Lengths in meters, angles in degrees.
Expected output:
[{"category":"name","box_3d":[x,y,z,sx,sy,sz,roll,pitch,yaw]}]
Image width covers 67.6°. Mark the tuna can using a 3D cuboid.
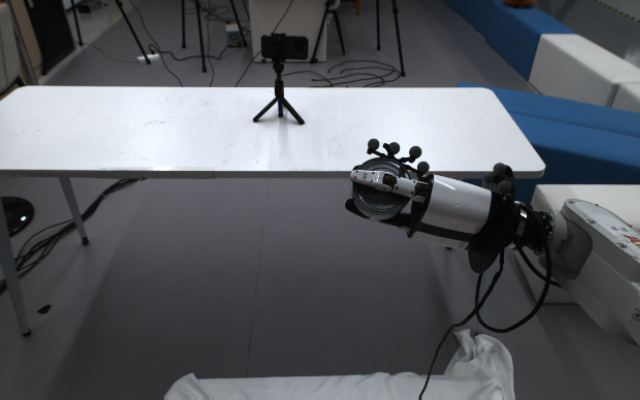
[{"category":"tuna can","box_3d":[0.088,-0.018,0.694,0.085,0.034,0.085,0,71,0]}]
